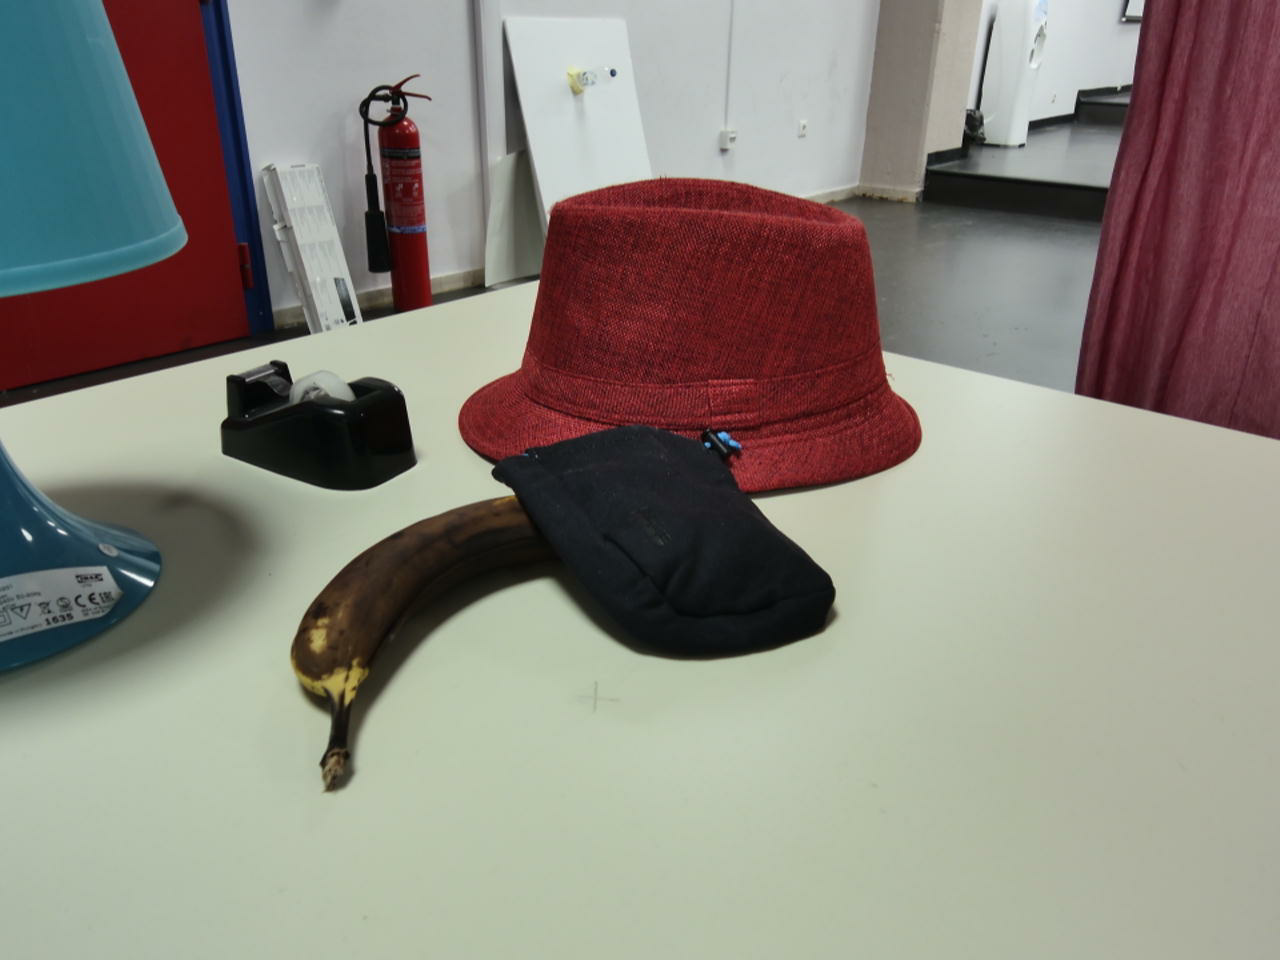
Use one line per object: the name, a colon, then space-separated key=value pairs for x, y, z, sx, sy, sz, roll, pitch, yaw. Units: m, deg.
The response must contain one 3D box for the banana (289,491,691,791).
banana: x=-0.068 y=0.039 z=0.392 sx=0.091 sy=0.034 sz=0.188 roll=18 pitch=29 yaw=36
